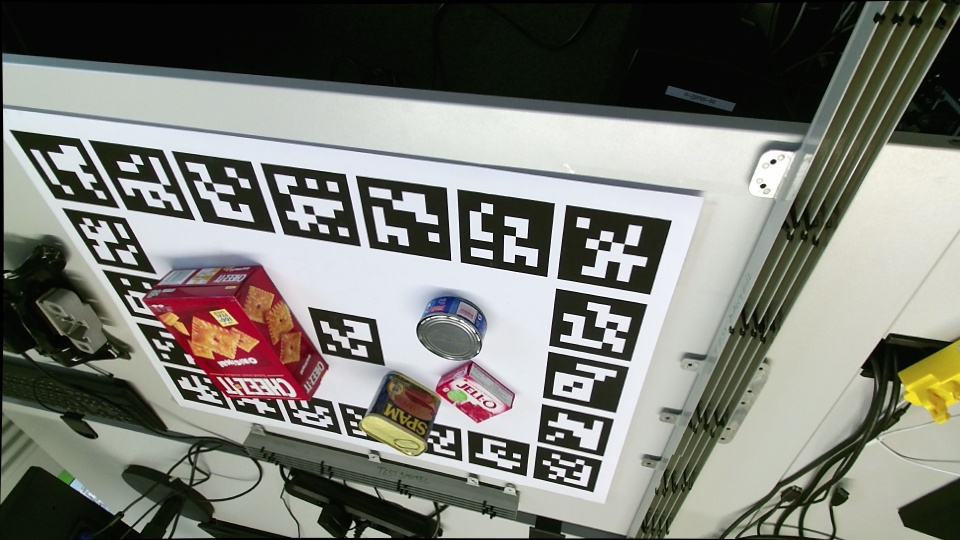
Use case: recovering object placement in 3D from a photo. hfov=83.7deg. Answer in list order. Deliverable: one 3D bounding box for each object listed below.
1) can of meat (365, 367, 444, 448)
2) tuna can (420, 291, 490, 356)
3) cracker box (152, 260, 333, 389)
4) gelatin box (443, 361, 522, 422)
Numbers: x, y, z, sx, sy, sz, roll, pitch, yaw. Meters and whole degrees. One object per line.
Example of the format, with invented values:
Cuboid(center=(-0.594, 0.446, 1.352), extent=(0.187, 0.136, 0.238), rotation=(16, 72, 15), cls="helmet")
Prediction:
Cuboid(center=(-0.111, 0.207, 0.815), extent=(0.102, 0.083, 0.058), rotation=(31, 133, -11), cls="can of meat")
Cuboid(center=(-0.031, 0.069, 0.685), extent=(0.086, 0.033, 0.086), rotation=(8, 129, 10), cls="tuna can")
Cuboid(center=(-0.346, 0.087, 0.794), extent=(0.164, 0.072, 0.214), rotation=(-3, 131, 23), cls="cracker box")
Cuboid(center=(0.003, 0.179, 0.777), extent=(0.089, 0.030, 0.073), rotation=(42, 133, -16), cls="gelatin box")
